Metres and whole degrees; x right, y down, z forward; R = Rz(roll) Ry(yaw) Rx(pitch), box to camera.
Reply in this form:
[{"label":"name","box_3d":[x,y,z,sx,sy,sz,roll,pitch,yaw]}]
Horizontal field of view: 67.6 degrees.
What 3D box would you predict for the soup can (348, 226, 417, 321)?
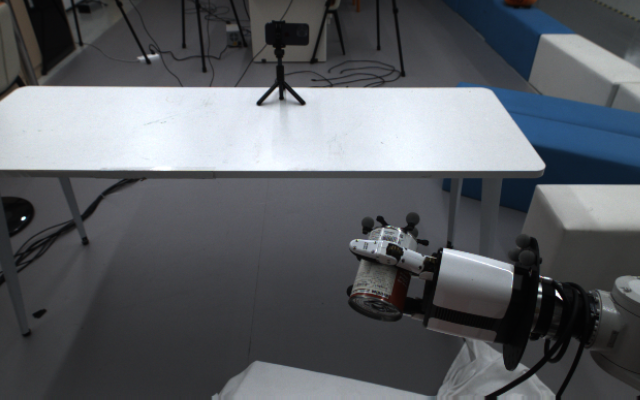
[{"label":"soup can","box_3d":[0.082,0.090,0.610,0.067,0.067,0.101,12,59,14]}]
